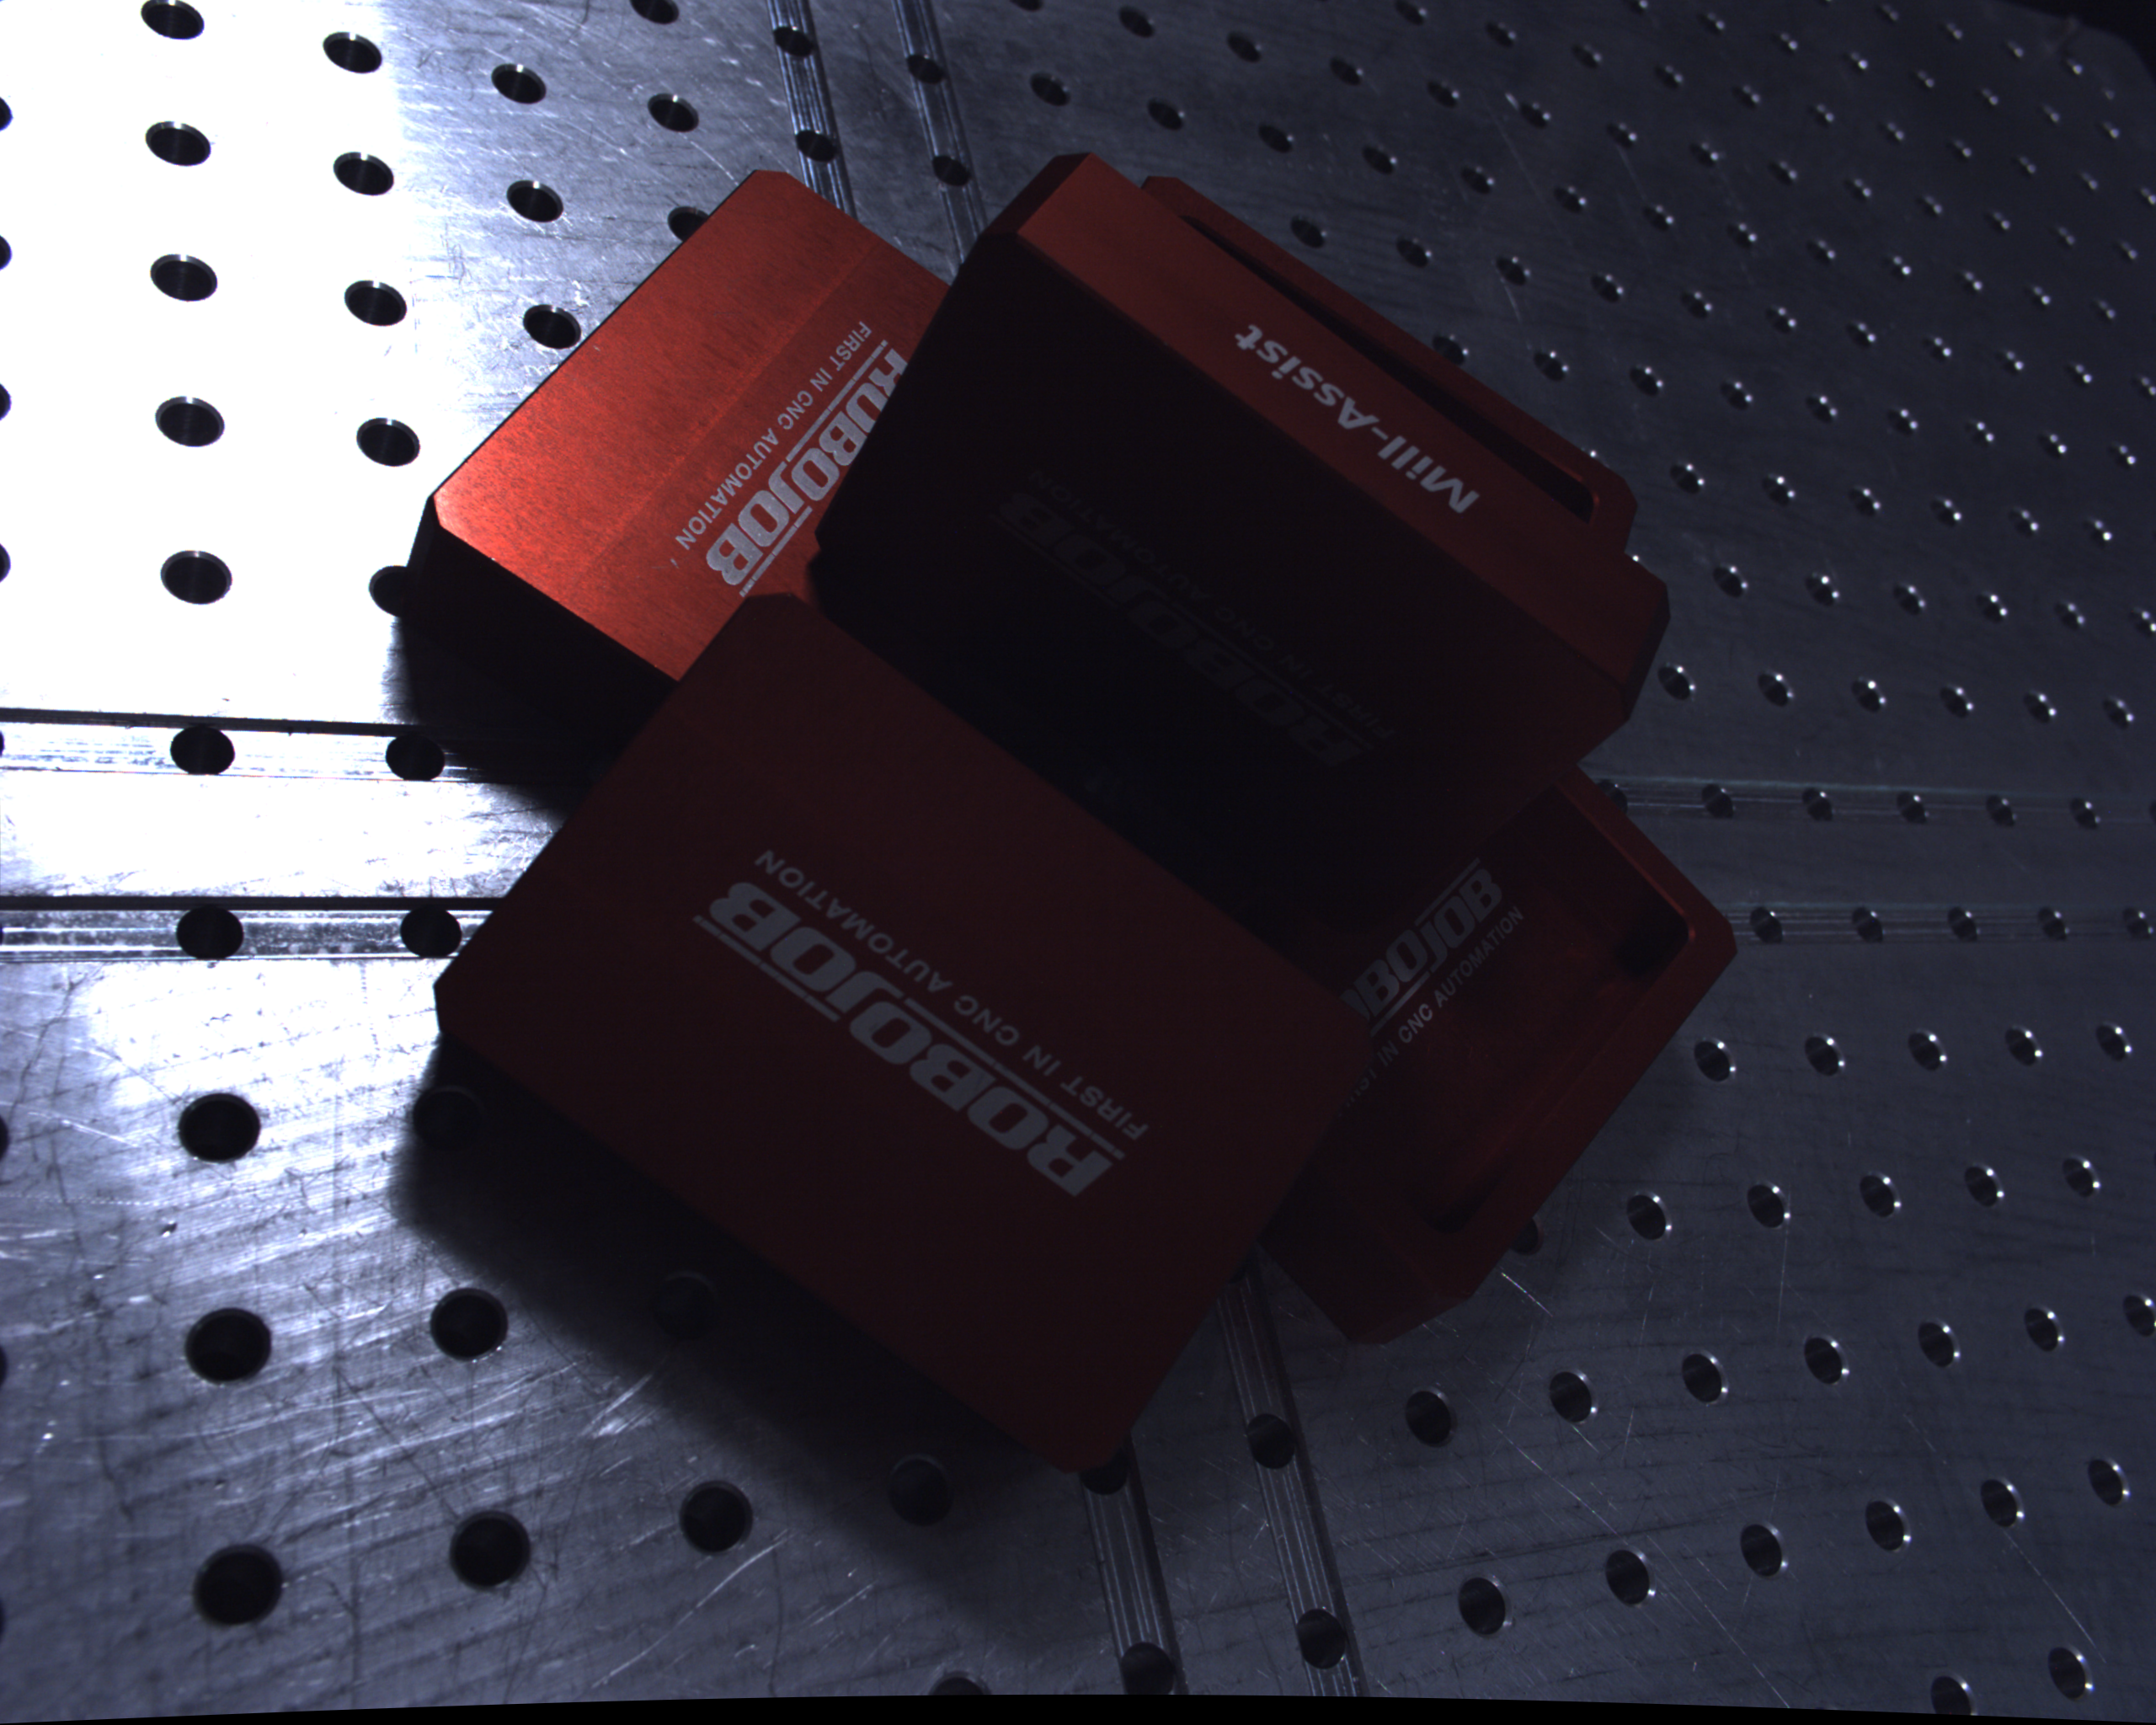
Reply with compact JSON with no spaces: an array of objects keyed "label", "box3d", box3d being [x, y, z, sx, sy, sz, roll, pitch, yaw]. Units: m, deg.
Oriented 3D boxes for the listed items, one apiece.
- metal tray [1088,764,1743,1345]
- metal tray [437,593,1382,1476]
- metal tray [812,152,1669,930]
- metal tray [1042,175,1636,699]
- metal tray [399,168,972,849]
[{"label":"metal tray","box3d":[0.071,0.024,0.429,0.090,0.030,0.131,47,51,5]},{"label":"metal tray","box3d":[-0.027,0.028,0.350,0.130,0.030,0.090,37,76,-4]},{"label":"metal tray","box3d":[0.026,-0.052,0.374,0.130,0.090,0.030,35,51,-5]},{"label":"metal tray","box3d":[0.050,-0.079,0.443,0.130,0.030,0.090,32,51,-8]},{"label":"metal tray","box3d":[-0.060,-0.074,0.418,0.090,0.030,0.130,34,51,-7]}]
